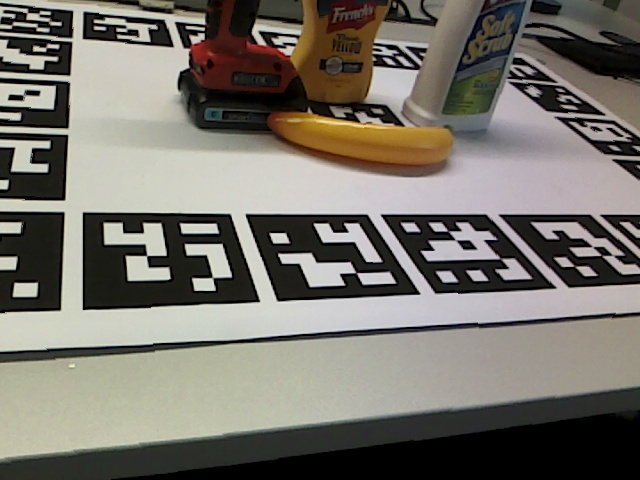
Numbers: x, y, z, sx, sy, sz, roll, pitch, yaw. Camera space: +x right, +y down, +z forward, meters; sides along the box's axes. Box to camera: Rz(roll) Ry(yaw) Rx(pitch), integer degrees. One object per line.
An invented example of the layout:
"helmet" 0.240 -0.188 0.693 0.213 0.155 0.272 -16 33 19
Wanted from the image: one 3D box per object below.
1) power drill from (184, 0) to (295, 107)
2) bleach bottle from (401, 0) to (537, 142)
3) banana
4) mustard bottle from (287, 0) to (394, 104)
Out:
"power drill" -0.047 -0.220 0.566 0.183 0.187 0.058 -1 30 -24
"bleach bottle" 0.170 -0.227 0.645 0.102 0.250 0.068 -6 41 -27
"banana" 0.058 -0.098 0.593 0.196 0.039 0.074 0 41 -16
"mustard bottle" 0.027 -0.244 0.657 0.096 0.191 0.059 1 37 -21
